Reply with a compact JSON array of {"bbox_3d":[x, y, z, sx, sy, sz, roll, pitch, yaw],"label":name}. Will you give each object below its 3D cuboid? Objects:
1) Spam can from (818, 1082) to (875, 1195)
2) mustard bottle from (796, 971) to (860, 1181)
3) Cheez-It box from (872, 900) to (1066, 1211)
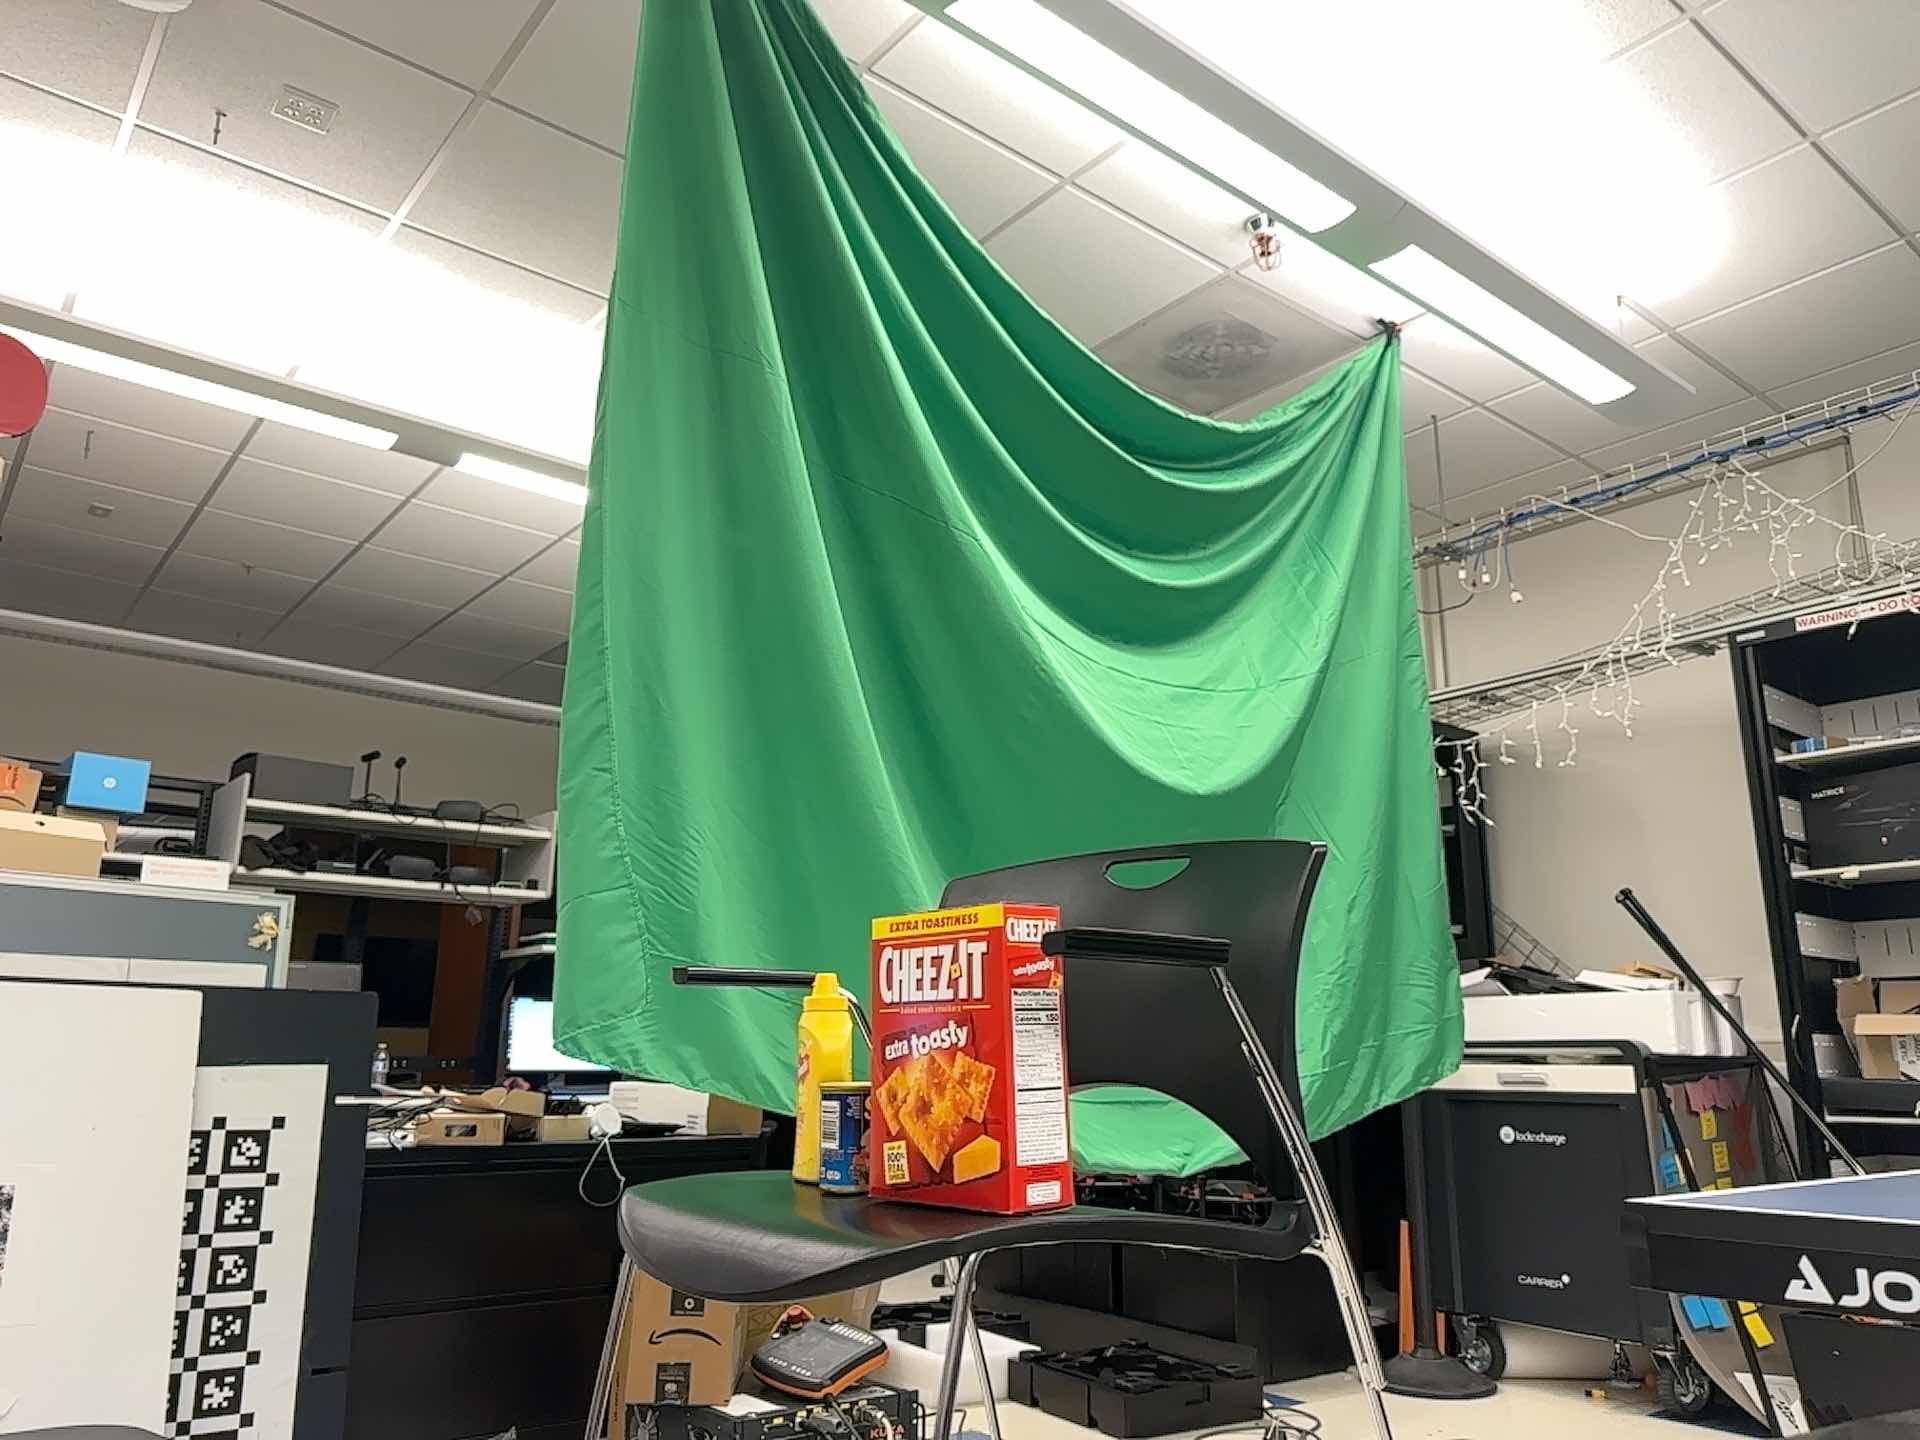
[{"bbox_3d":[-0.071,0.358,1.168,0.100,0.083,0.056,6,-12,-35],"label":"Spam can"},{"bbox_3d":[-0.122,0.325,1.250,0.054,0.184,0.092,3,-11,-22],"label":"mustard bottle"},{"bbox_3d":[0.003,0.259,1.057,0.062,0.214,0.159,10,-16,-36],"label":"Cheez-It box"}]
